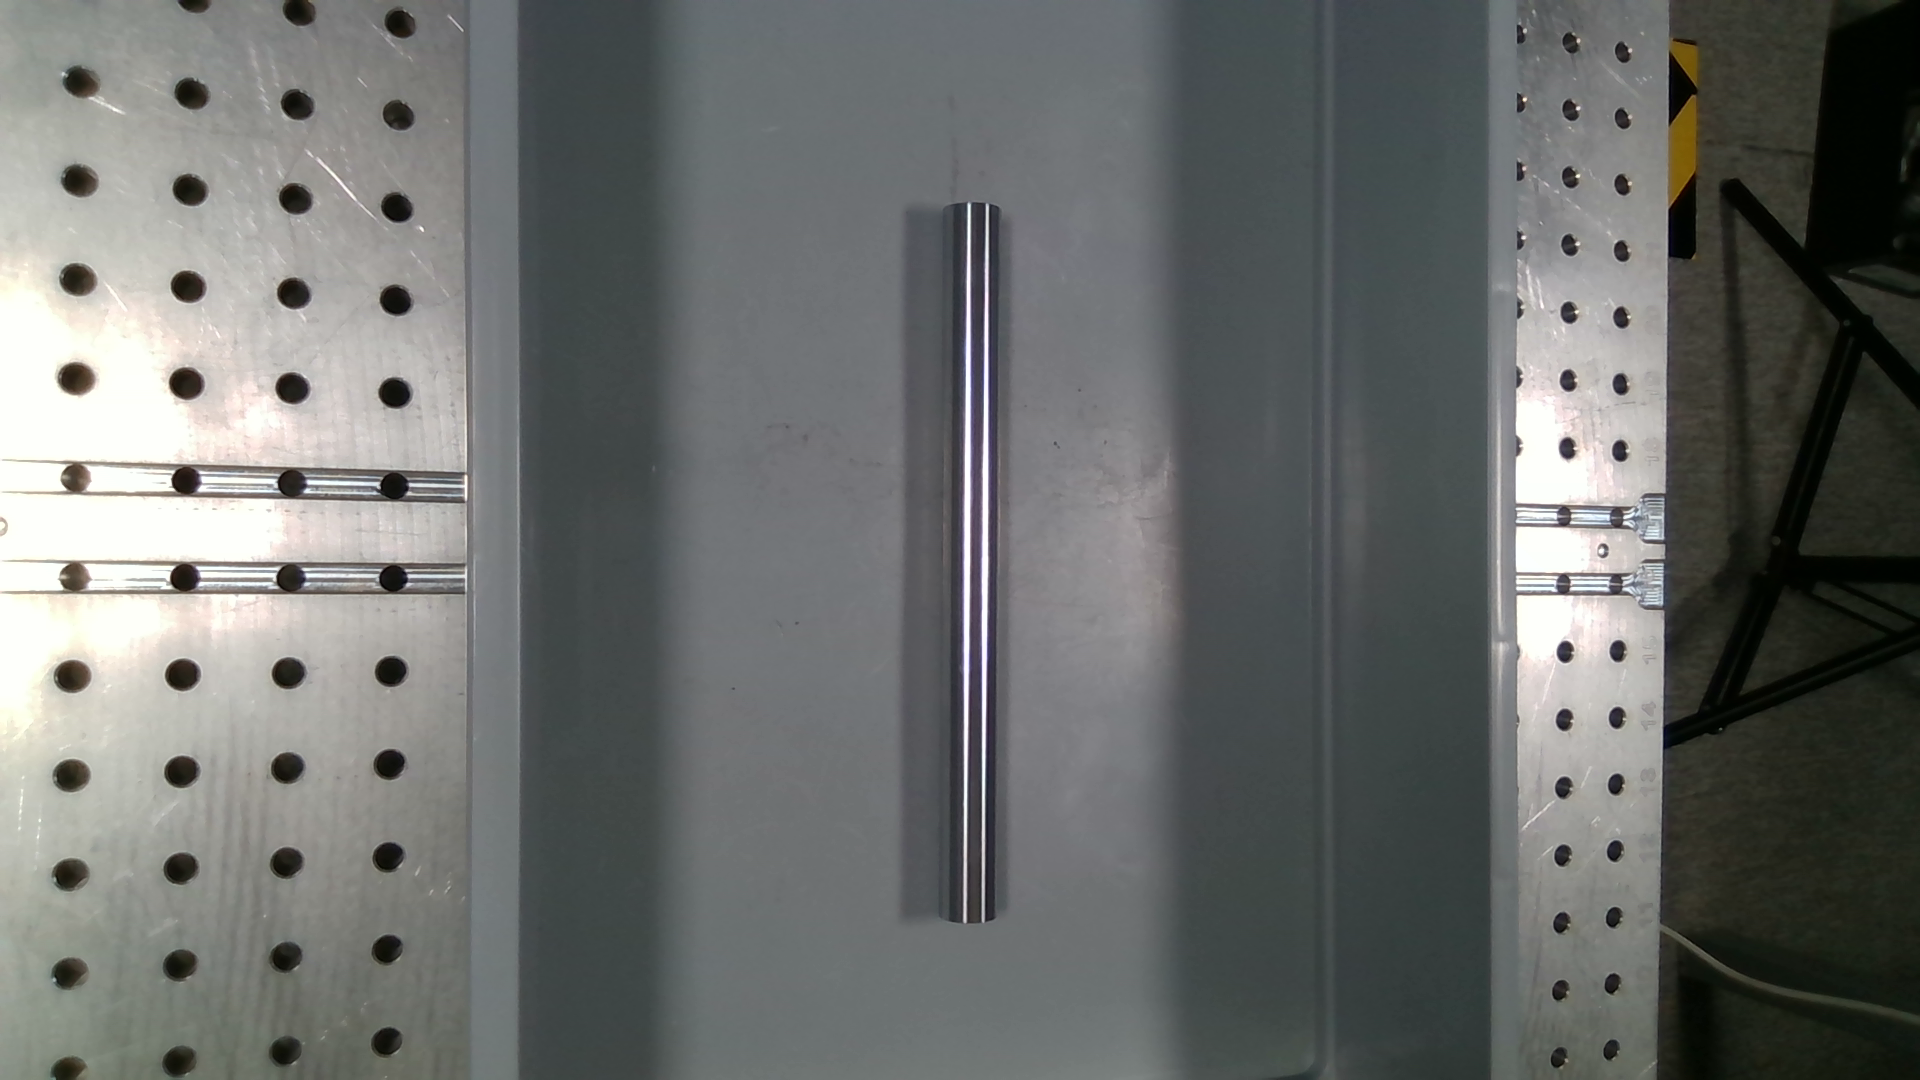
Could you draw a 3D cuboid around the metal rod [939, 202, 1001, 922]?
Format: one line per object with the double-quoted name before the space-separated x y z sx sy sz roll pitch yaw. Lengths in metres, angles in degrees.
"metal rod" 0.004 0.009 0.586 0.025 0.025 0.300 0 90 -20
